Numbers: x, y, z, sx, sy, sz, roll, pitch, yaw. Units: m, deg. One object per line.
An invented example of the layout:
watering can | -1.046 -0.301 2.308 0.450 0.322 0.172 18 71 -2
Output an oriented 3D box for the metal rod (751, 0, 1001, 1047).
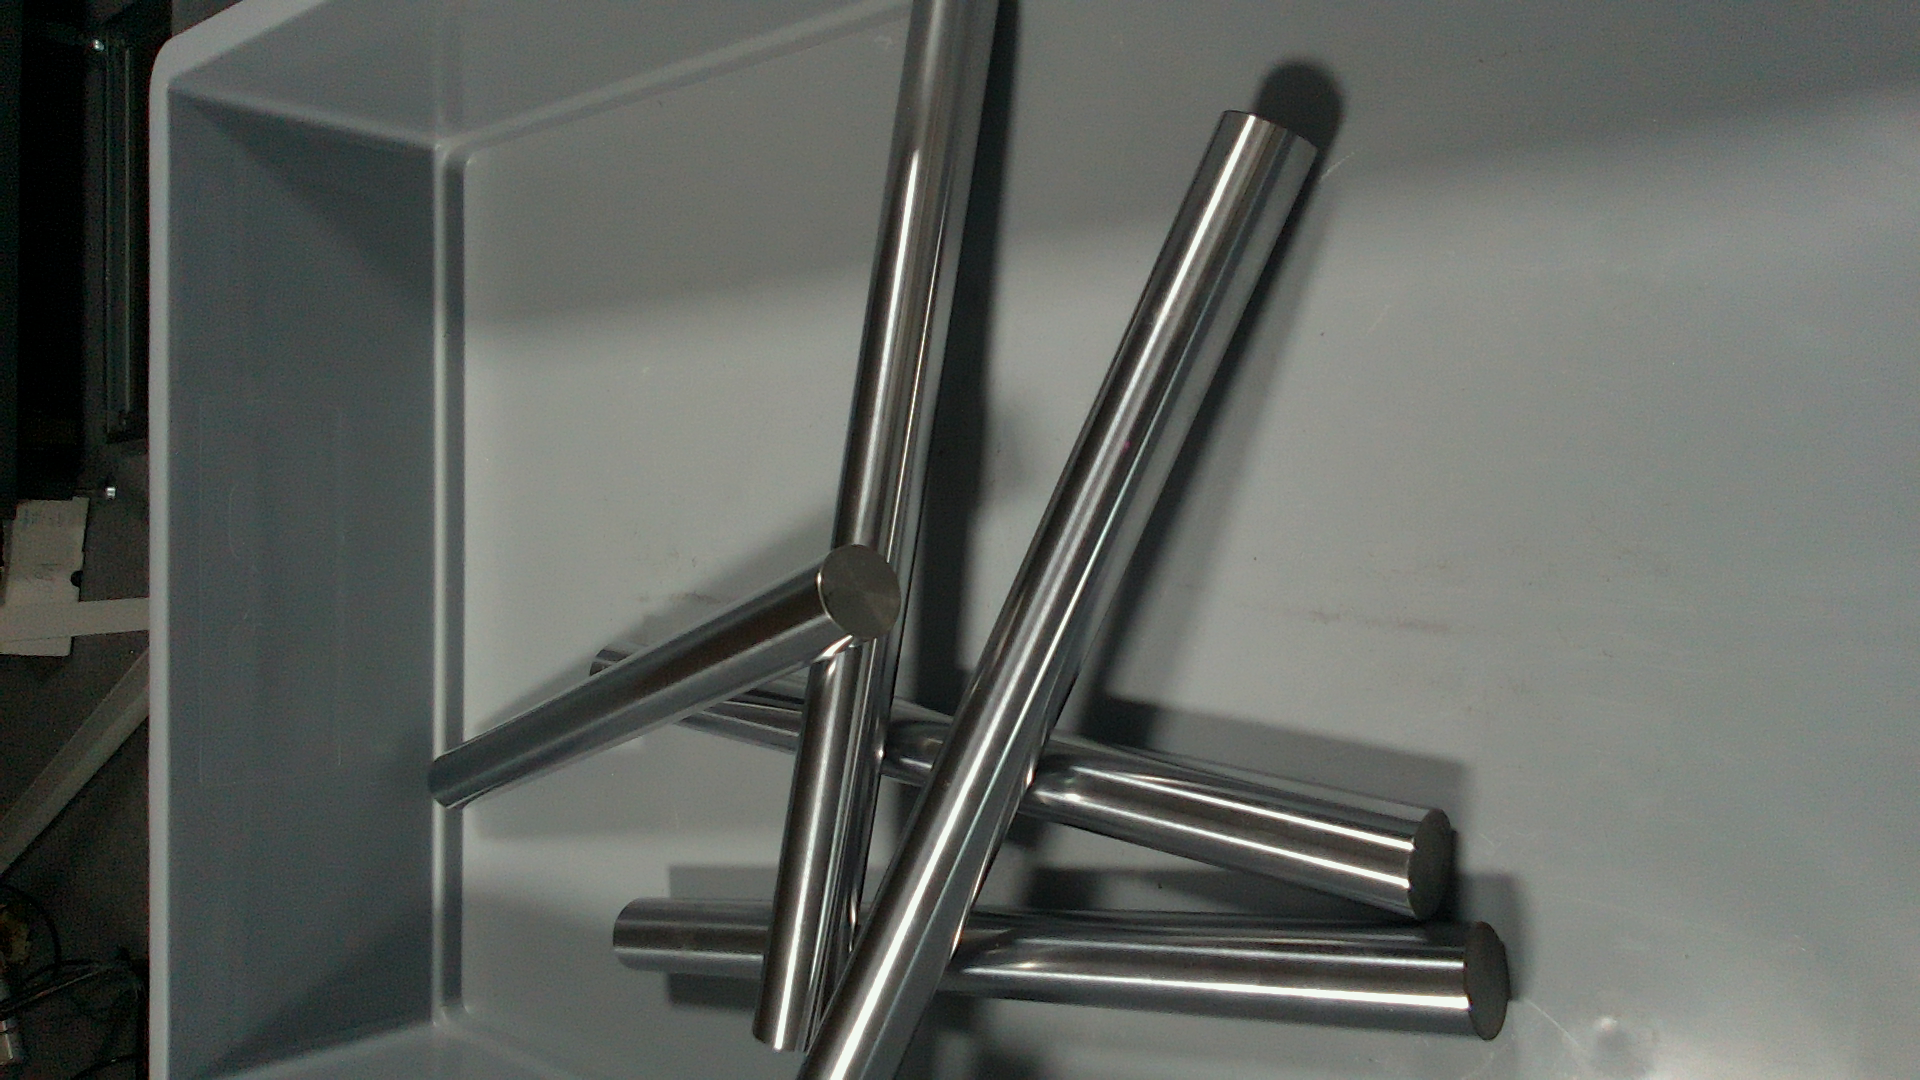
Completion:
metal rod | -0.023 -0.010 0.391 0.025 0.025 0.300 8 89 40

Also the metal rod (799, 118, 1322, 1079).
metal rod | 0.016 0.040 0.354 0.025 0.025 0.300 30 101 36

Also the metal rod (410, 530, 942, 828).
metal rod | -0.113 0.057 0.455 0.299 0.025 0.025 -26 74 43

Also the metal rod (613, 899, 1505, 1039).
metal rod | 0.000 0.117 0.393 0.299 0.025 0.025 -11 83 40

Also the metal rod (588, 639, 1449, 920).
metal rod | -0.010 0.060 0.402 0.299 0.025 0.025 6 94 40
